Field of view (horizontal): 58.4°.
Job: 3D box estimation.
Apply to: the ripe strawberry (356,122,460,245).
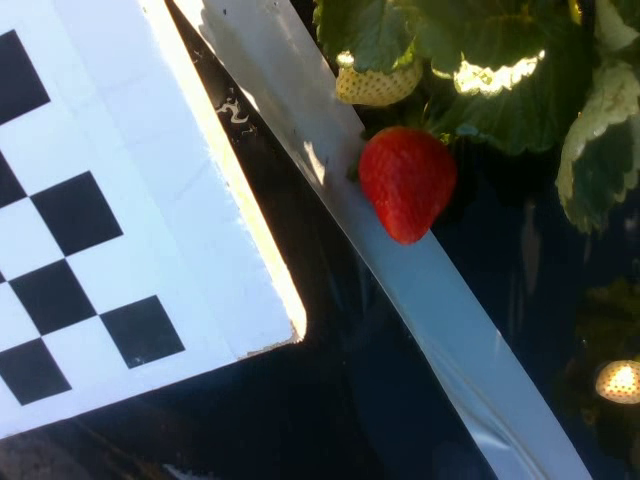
[{"bbox_3d":[0.034,-0.022,0.234,0.045,0.064,0.049,4,-42,7],"label":"ripe strawberry"}]
